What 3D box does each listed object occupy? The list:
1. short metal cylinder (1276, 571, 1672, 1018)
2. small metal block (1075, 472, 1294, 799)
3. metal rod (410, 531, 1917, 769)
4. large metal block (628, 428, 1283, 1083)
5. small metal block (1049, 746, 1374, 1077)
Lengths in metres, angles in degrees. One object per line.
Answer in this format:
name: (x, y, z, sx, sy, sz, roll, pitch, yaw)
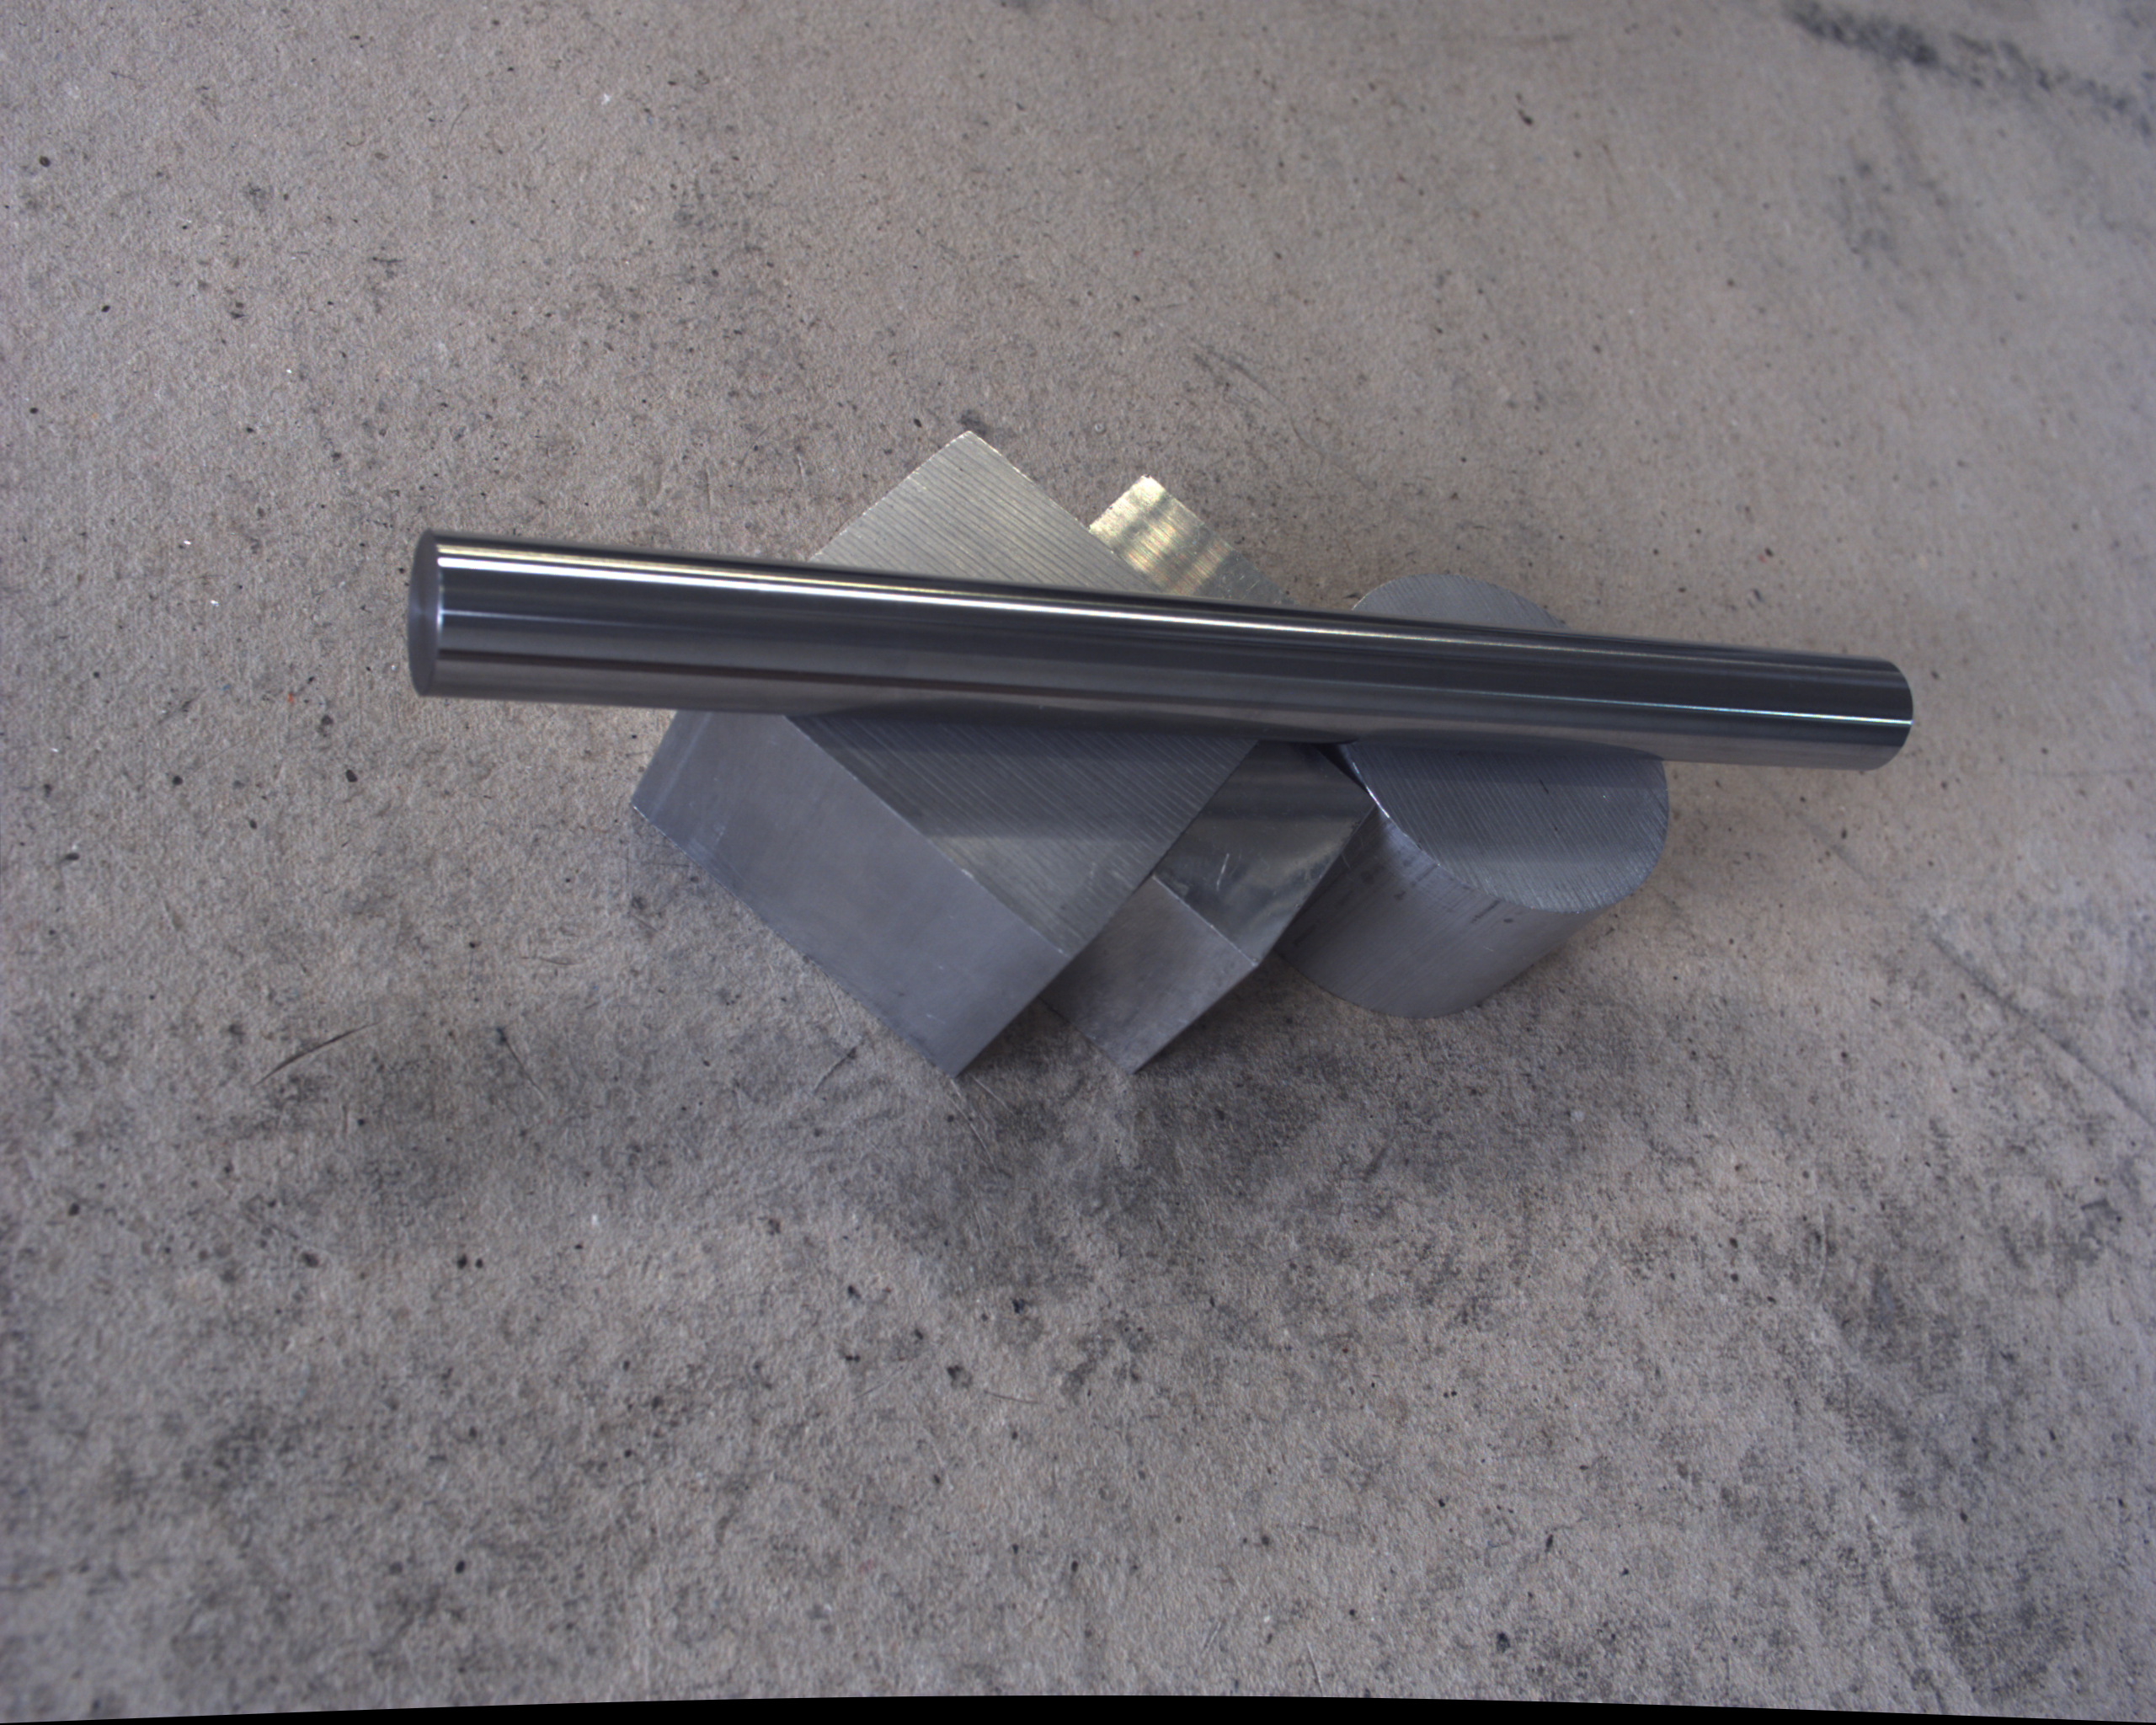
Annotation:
short metal cylinder: (0.076, -0.014, 0.437, 0.081, 0.050, 0.080, 14, 56, -21)
small metal block: (0.015, -0.042, 0.424, 0.050, 0.050, 0.025, 41, 51, -1)
metal rod: (0.037, -0.034, 0.379, 0.303, 0.025, 0.025, 1, 62, -28)
large metal block: (-0.021, -0.021, 0.388, 0.080, 0.050, 0.080, 41, 51, -1)
small metal block: (0.023, 0.007, 0.399, 0.025, 0.050, 0.050, 41, 51, -1)
